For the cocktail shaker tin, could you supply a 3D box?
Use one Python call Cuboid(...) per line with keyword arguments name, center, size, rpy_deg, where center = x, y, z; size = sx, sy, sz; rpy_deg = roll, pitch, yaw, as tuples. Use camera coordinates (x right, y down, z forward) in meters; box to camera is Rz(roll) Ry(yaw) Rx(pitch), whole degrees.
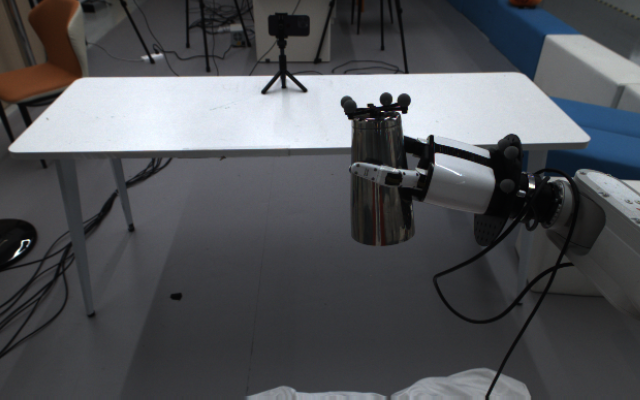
Cuboid(name="cocktail shaker tin", center=(0.083, -0.033, 0.671), size=(0.093, 0.170, 0.093), rpy_deg=(-6, 19, 2))
